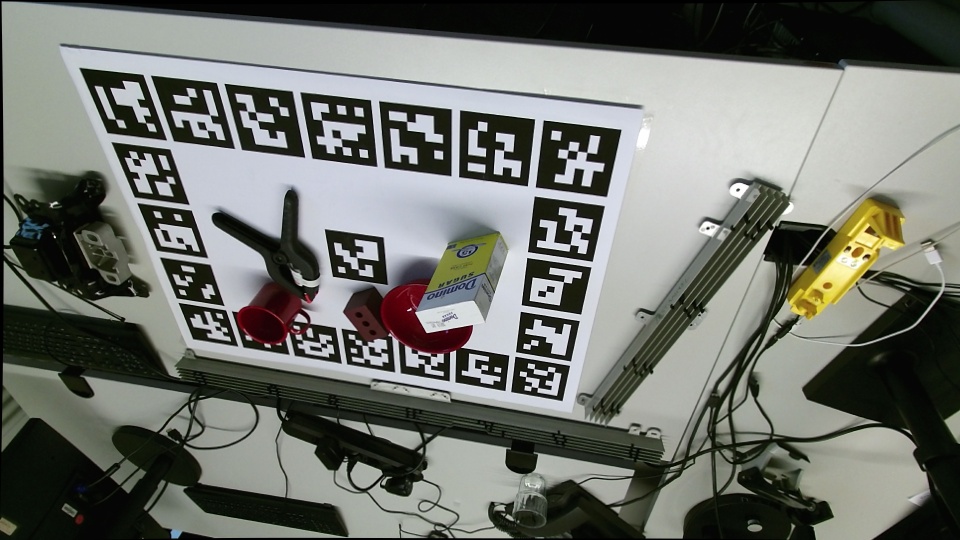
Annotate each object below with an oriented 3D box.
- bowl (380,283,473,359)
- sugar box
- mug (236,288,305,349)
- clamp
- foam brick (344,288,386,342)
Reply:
[{"bbox_3d":[-0.086,0.078,0.921,0.162,0.055,0.161,6,126,9],"label":"bowl"},{"bbox_3d":[-0.019,0.013,0.787,0.093,0.176,0.045,-14,118,22],"label":"sugar box"},{"bbox_3d":[-0.374,0.092,0.974,0.117,0.081,0.093,30,125,-5],"label":"mug"},{"bbox_3d":[-0.333,-0.018,0.911,0.166,0.036,0.203,-13,120,18],"label":"clamp"},{"bbox_3d":[-0.201,0.080,0.957,0.053,0.051,0.078,-17,119,21],"label":"foam brick"}]
